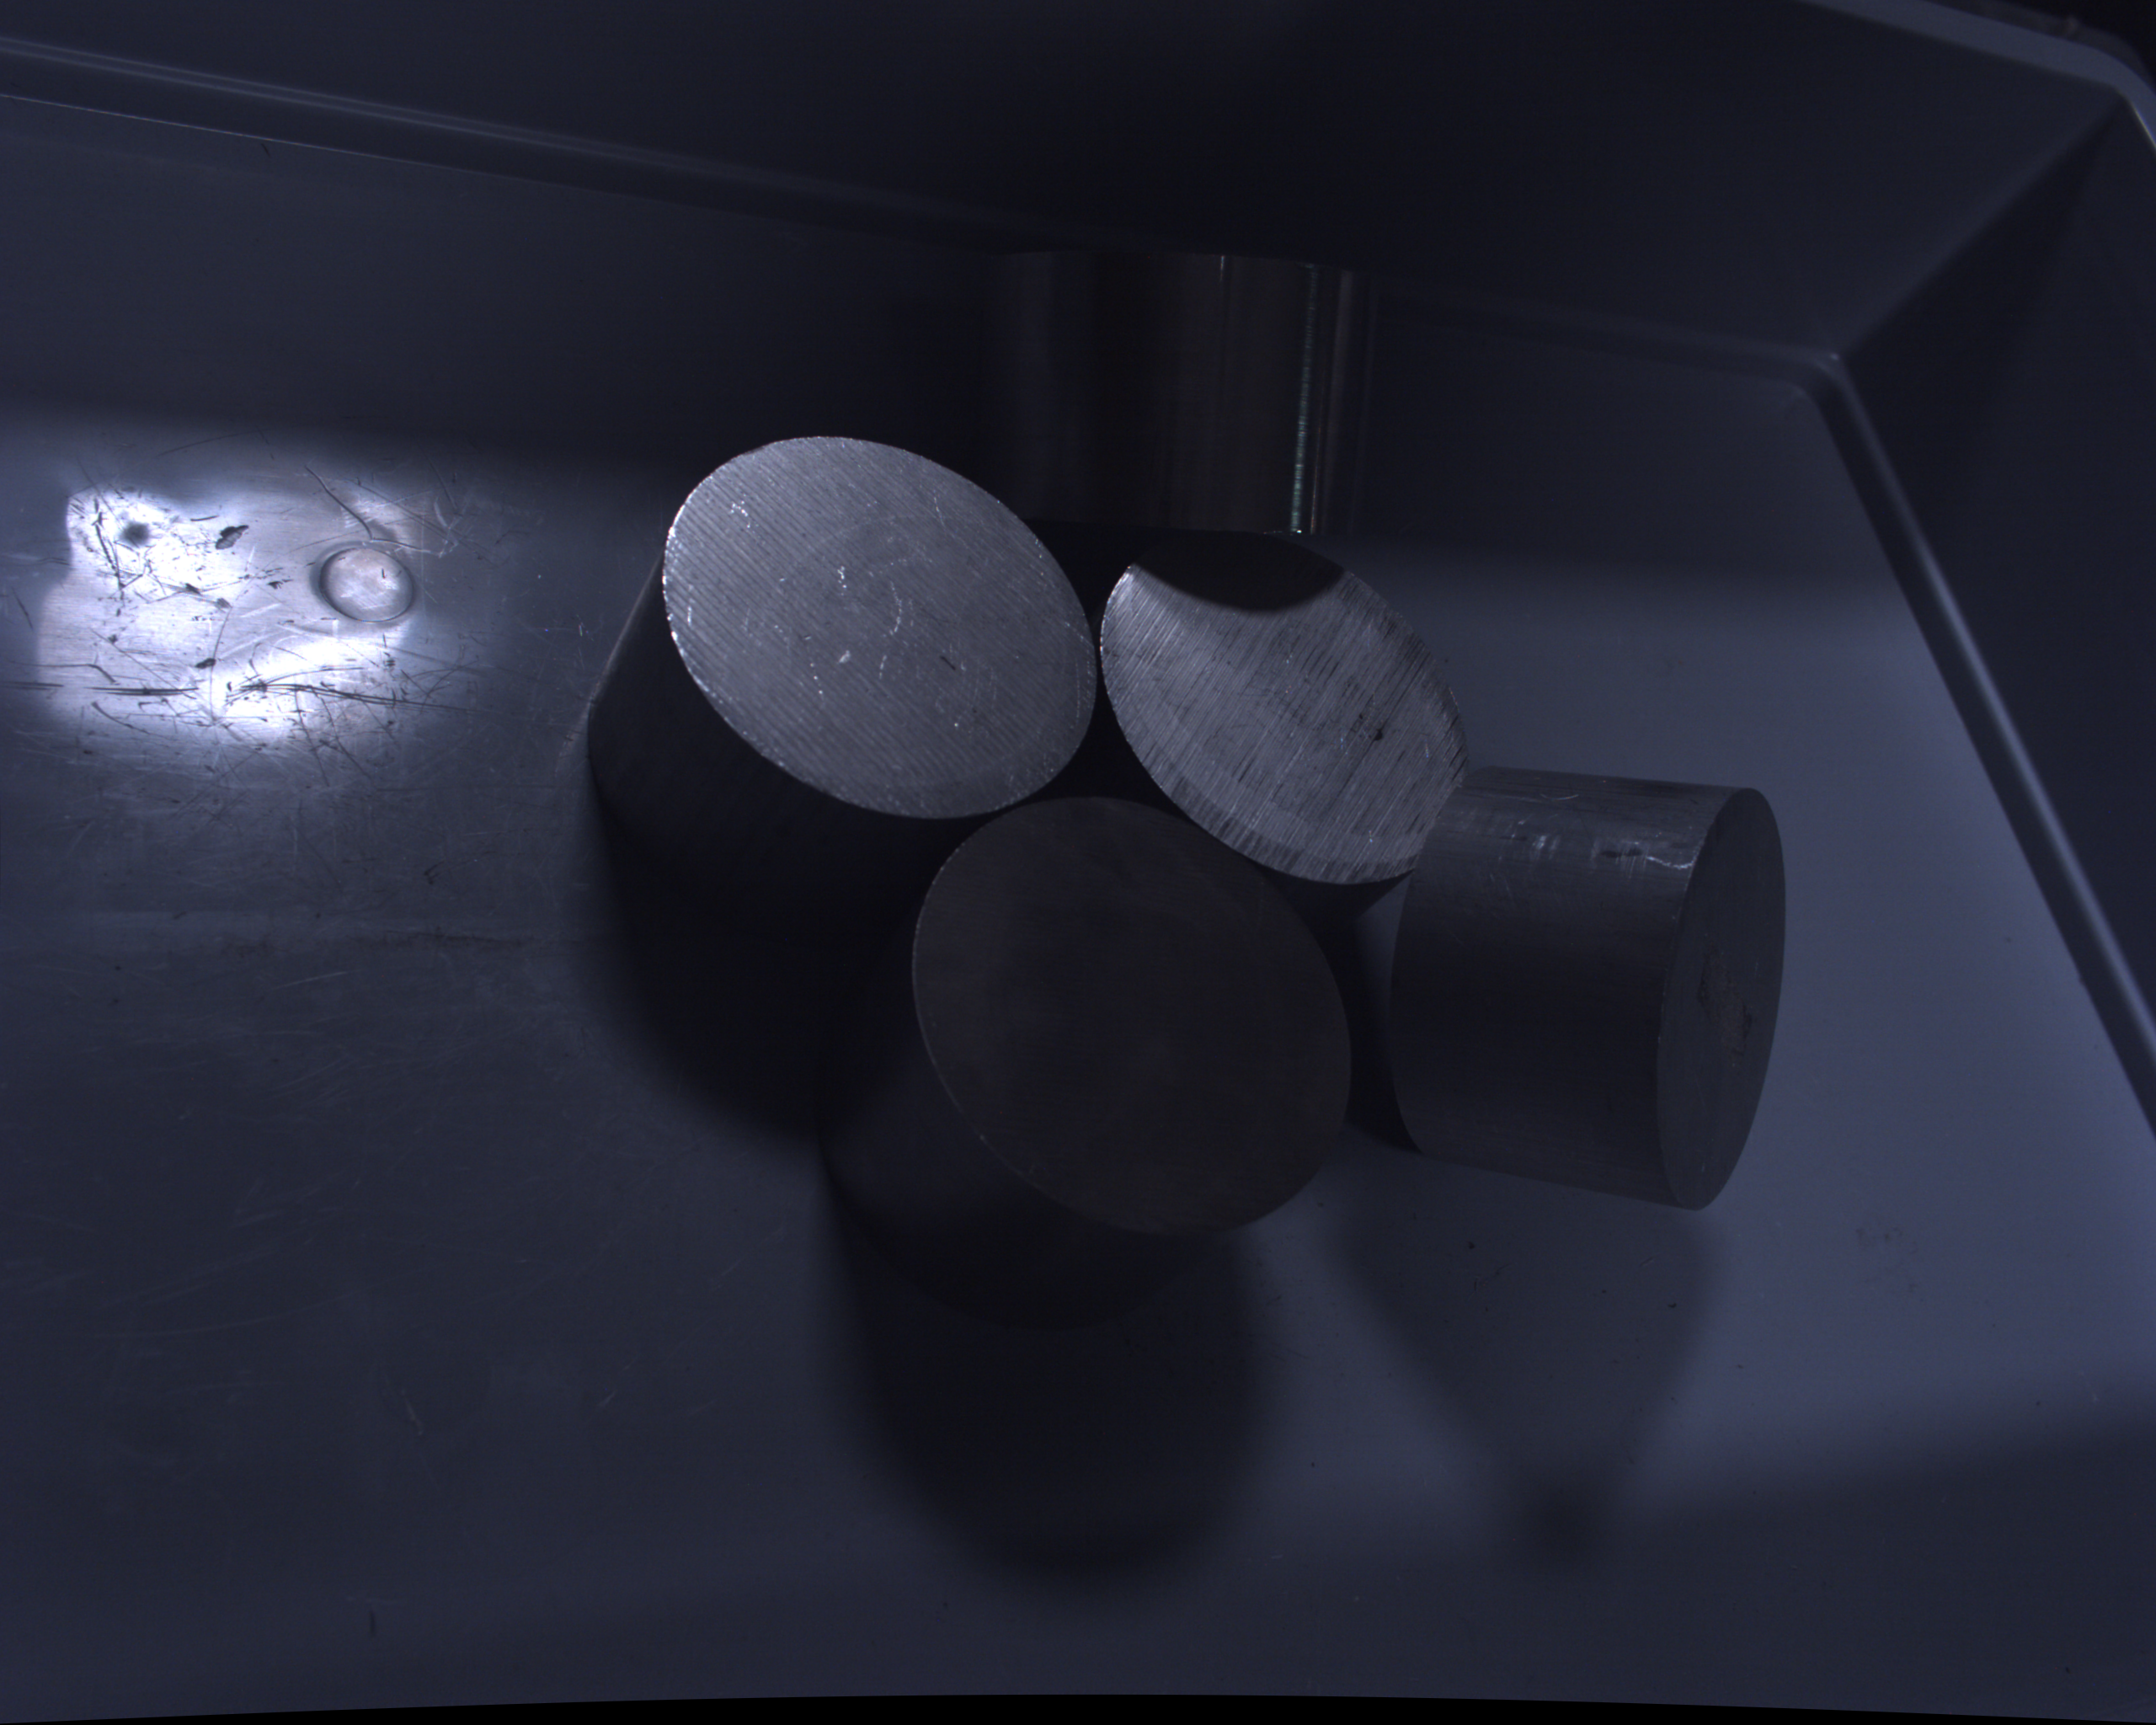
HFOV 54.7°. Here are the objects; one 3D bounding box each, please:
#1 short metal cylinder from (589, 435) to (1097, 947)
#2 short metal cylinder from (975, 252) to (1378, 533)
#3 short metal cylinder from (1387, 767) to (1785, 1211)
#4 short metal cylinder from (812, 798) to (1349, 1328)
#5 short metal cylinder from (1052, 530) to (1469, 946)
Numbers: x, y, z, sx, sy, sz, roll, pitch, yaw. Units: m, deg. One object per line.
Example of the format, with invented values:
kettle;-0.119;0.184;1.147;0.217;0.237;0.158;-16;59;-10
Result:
short metal cylinder;-0.044;-0.031;0.384;0.081;0.050;0.080;14;56;-21
short metal cylinder;0.020;-0.095;0.429;0.081;0.080;0.050;-3;102;-30
short metal cylinder;0.100;0.023;0.403;0.081;0.050;0.079;-17;111;-55
short metal cylinder;0.000;0.036;0.367;0.081;0.050;0.080;14;56;-21
short metal cylinder;0.030;-0.020;0.417;0.081;0.050;0.080;14;56;-21
